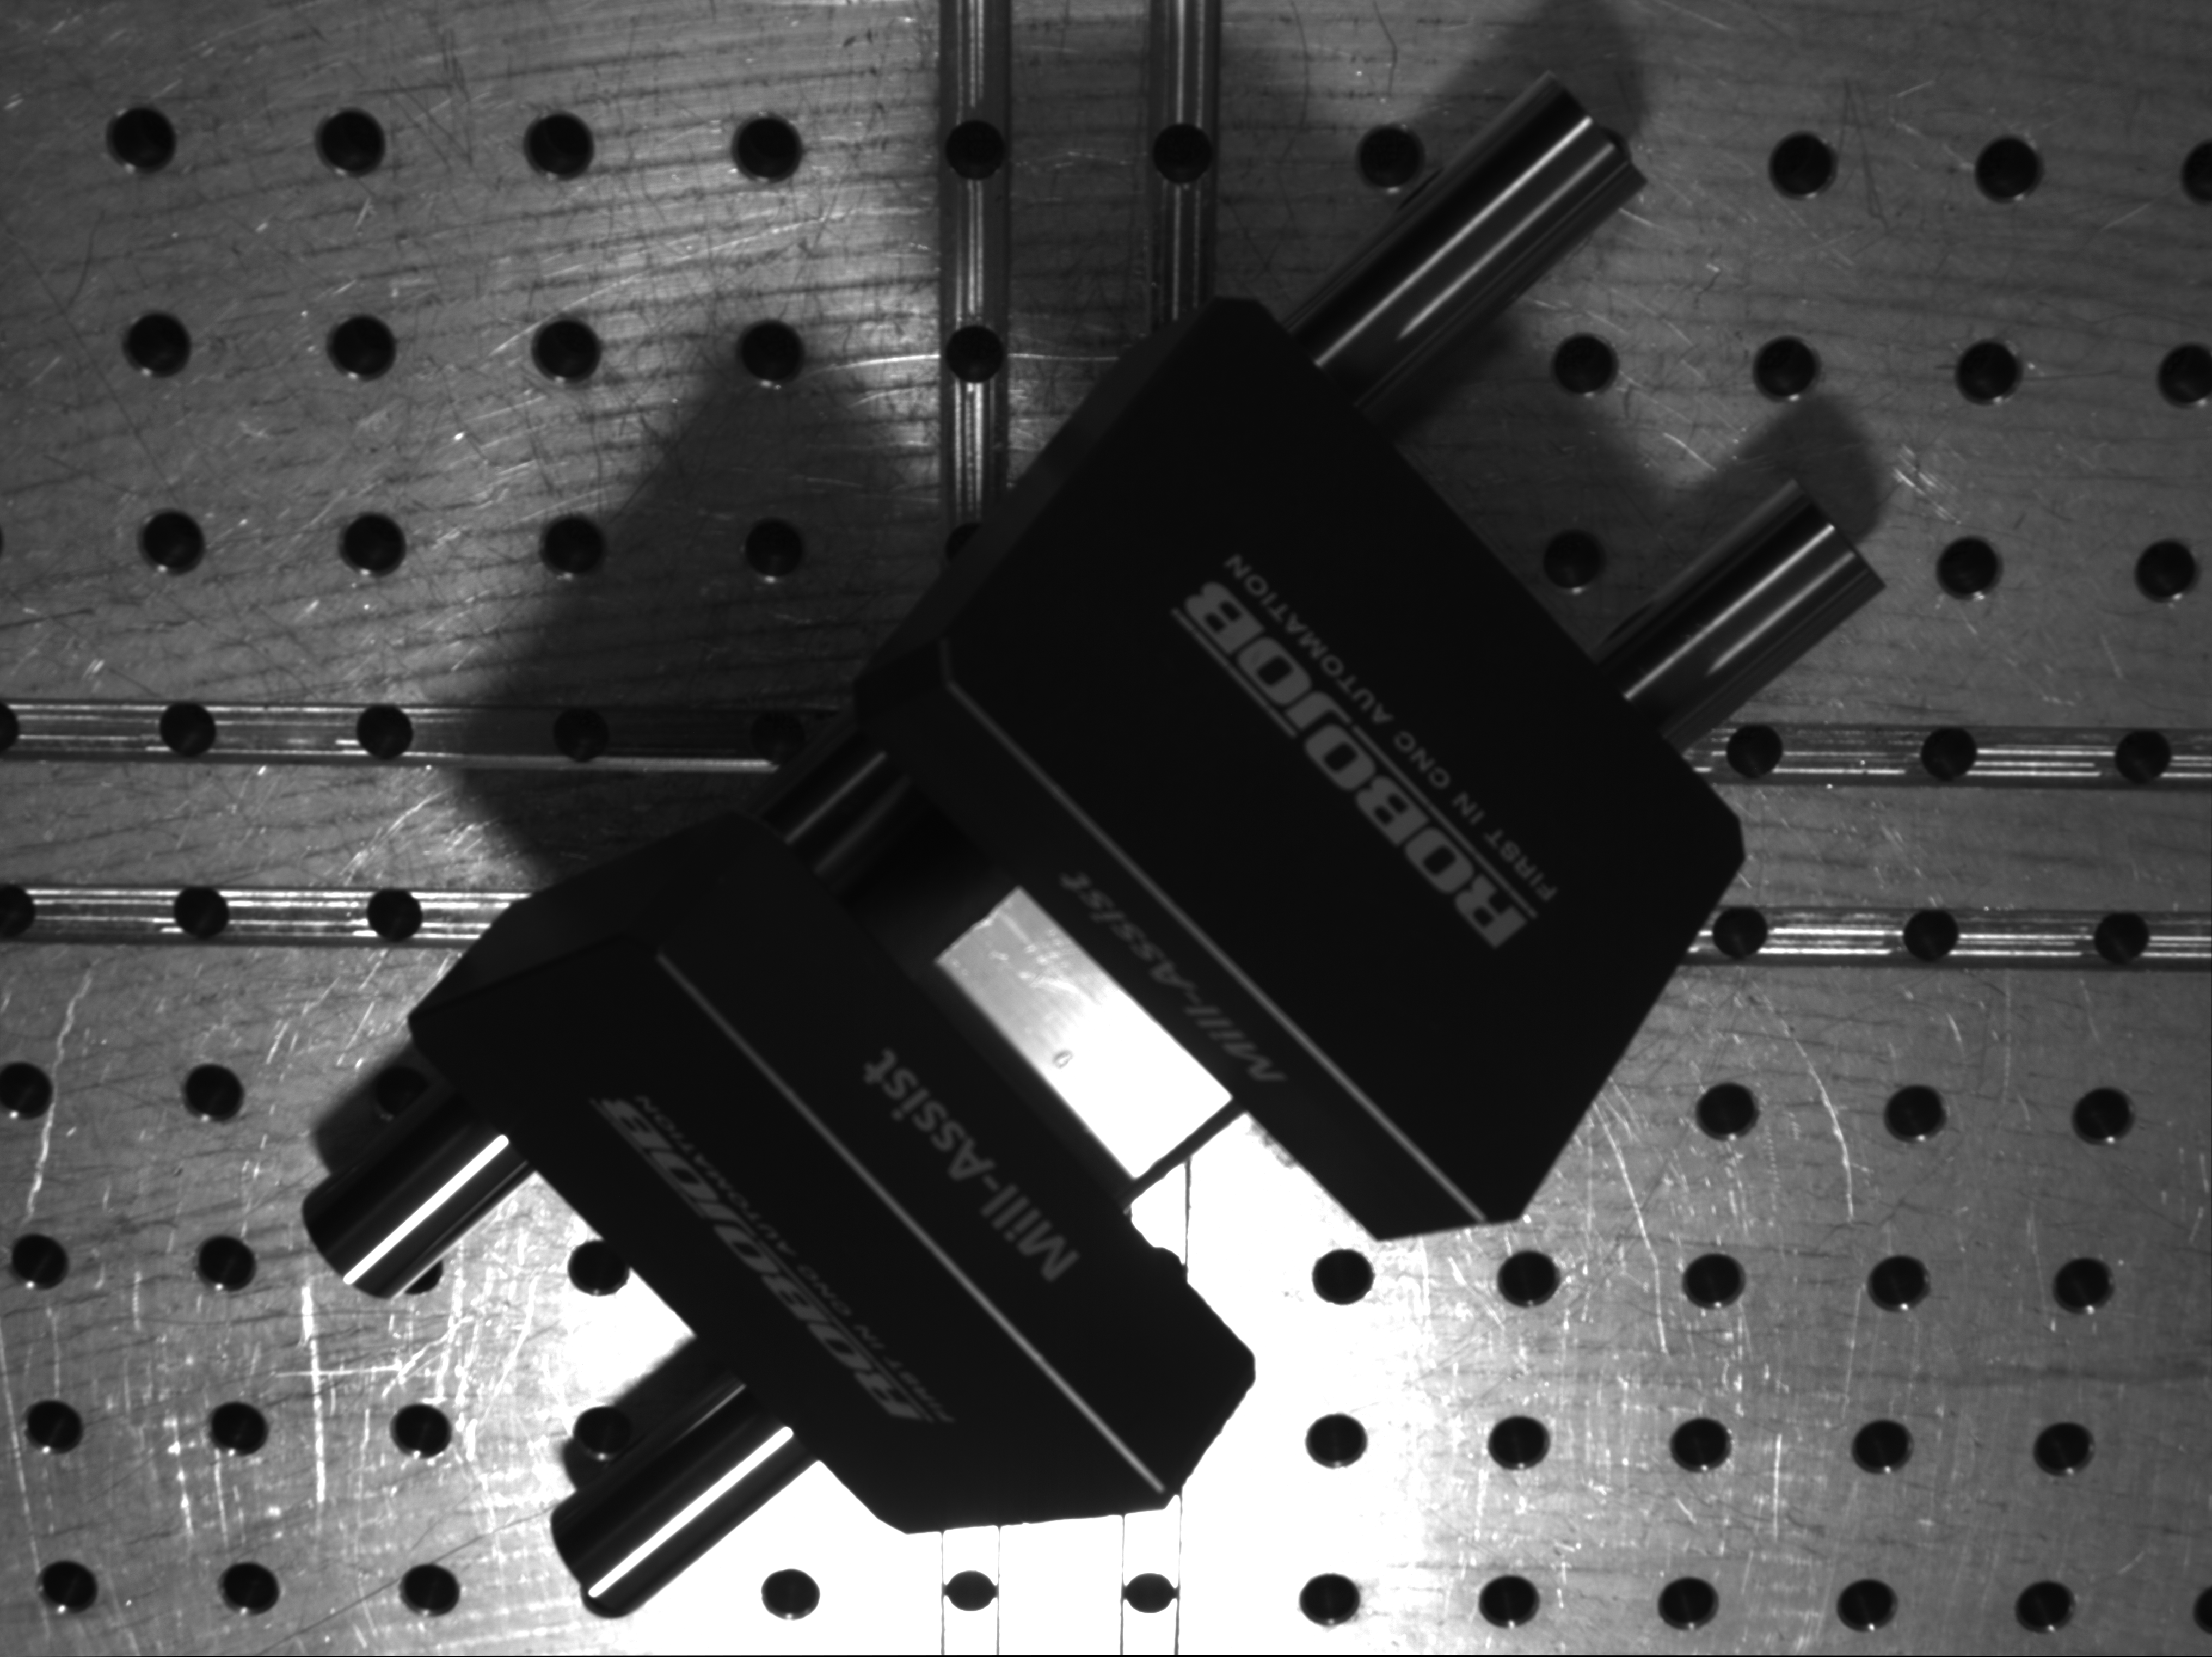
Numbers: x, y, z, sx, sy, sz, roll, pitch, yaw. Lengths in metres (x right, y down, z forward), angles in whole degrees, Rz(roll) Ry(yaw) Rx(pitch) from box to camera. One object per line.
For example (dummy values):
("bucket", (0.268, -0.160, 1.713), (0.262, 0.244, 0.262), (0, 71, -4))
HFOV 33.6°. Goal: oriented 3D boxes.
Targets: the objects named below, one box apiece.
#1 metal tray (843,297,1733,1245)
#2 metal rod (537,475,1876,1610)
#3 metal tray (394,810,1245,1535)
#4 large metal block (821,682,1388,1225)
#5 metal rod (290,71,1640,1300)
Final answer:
("metal tray", (0.032, -0.008, 0.585), (0.130, 0.030, 0.090), (45, 60, -15))
("metal rod", (0.013, 0.043, 0.662), (0.300, 0.025, 0.025), (-40, 105, 13))
("metal tray", (-0.049, 0.061, 0.610), (0.130, 0.030, 0.090), (49, 146, -16))
("large metal block", (-0.002, 0.016, 0.621), (0.080, 0.080, 0.050), (-40, 105, 13))
("metal rod", (-0.030, -0.020, 0.638), (0.300, 0.025, 0.025), (-41, 105, 13))
